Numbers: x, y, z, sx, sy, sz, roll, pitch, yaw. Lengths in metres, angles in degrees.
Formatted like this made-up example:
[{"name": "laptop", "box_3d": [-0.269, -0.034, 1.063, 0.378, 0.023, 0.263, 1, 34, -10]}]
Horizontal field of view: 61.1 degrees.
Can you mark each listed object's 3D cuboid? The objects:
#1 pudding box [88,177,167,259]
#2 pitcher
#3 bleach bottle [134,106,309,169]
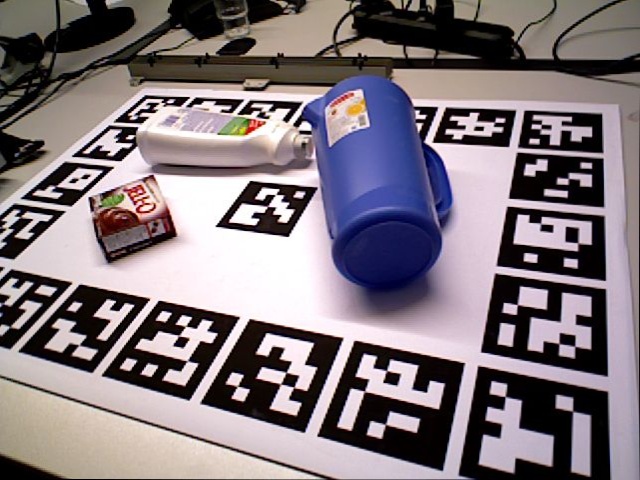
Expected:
[{"name": "pudding box", "box_3d": [-0.250, -0.031, 0.686, 0.089, 0.039, 0.113, -19, 43, -17]}, {"name": "pitcher", "box_3d": [0.067, -0.053, 0.600, 0.187, 0.137, 0.239, 16, 42, -22]}, {"name": "bleach bottle", "box_3d": [-0.138, -0.142, 0.773, 0.251, 0.069, 0.100, 7, 49, 17]}]
